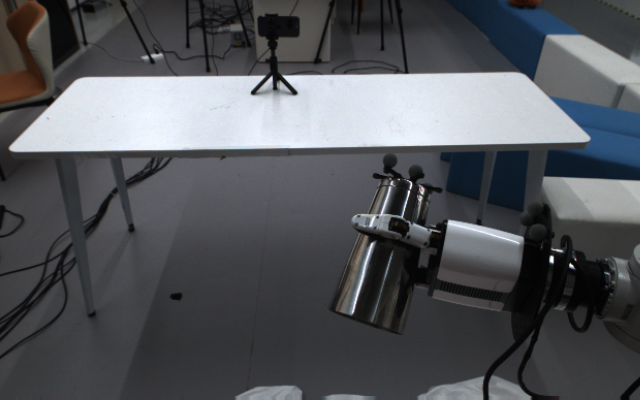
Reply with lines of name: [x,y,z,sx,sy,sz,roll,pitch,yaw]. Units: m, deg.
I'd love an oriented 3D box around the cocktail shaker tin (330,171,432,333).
cocktail shaker tin: [0.080,0.064,0.579,0.093,0.093,0.170,15,75,17]
